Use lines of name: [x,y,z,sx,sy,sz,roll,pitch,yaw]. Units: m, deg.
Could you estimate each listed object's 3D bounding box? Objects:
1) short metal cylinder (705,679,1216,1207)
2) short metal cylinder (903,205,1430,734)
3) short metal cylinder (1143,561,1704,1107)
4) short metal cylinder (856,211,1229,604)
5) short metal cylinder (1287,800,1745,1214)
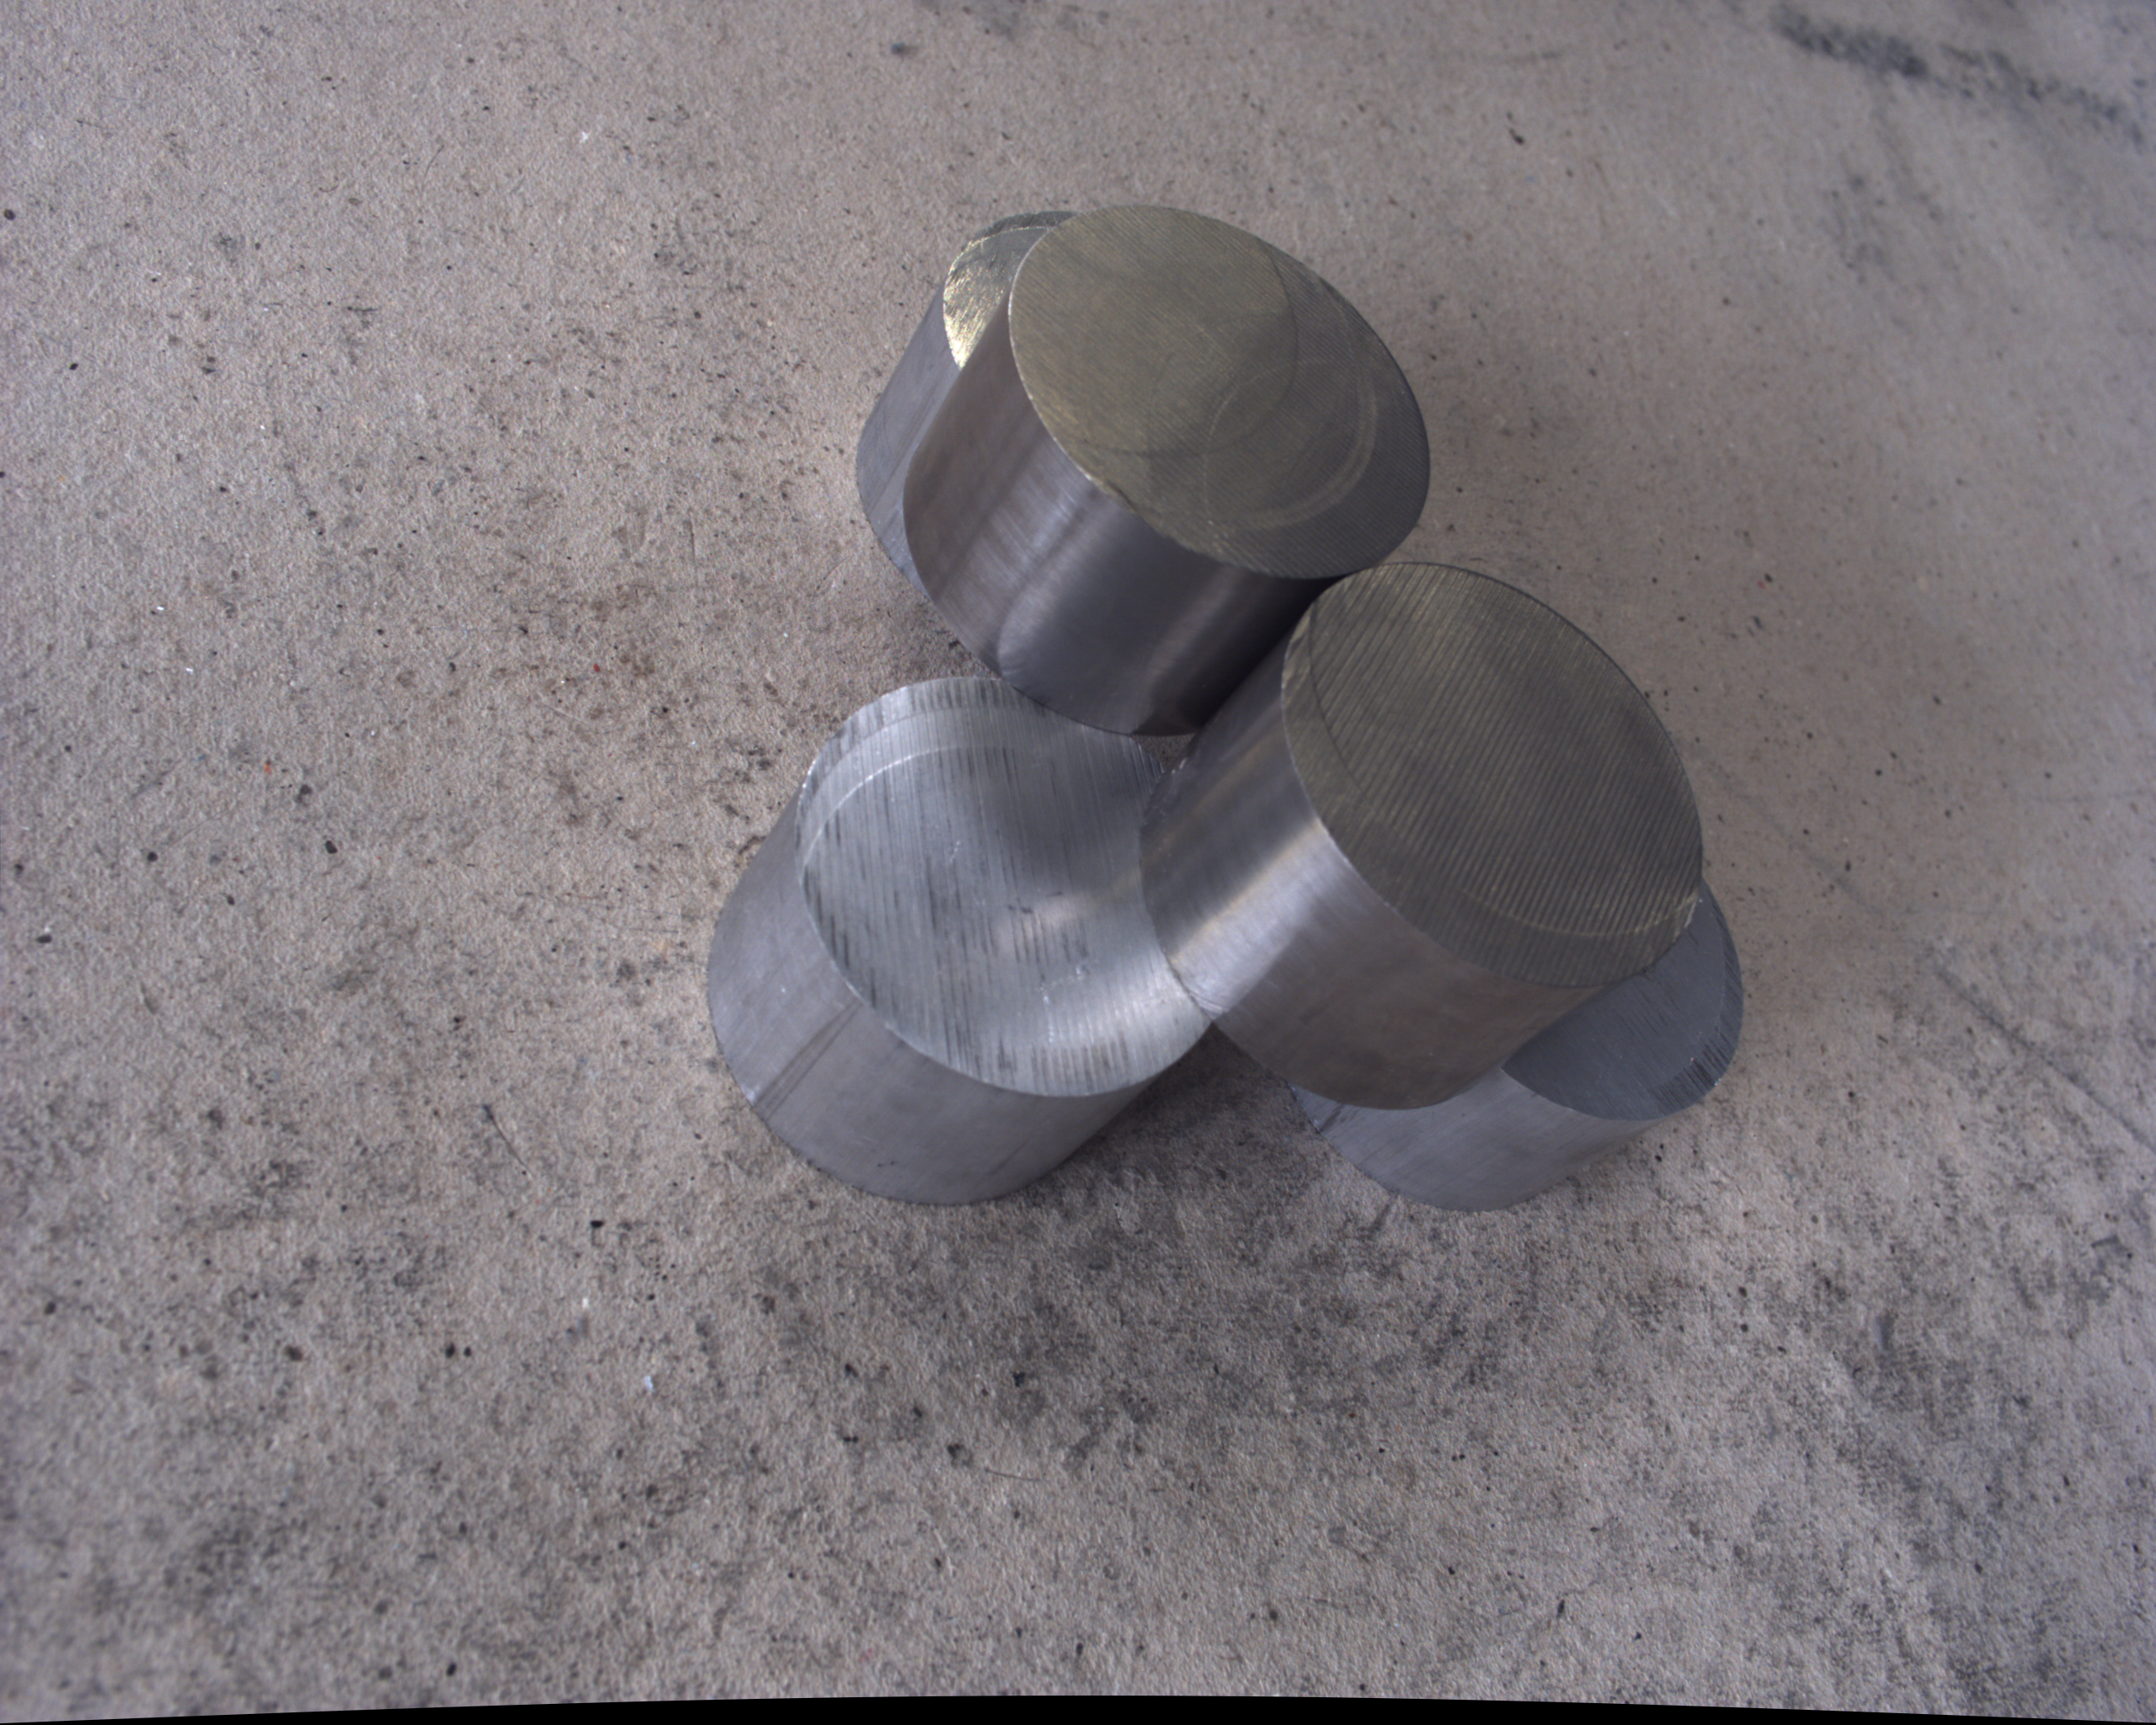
short metal cylinder: [-0.020,0.015,0.369,0.081,0.050,0.080,14,56,-21]
short metal cylinder: [0.015,-0.070,0.375,0.081,0.050,0.080,13,56,-20]
short metal cylinder: [0.058,-0.005,0.358,0.081,0.050,0.080,14,56,-21]
short metal cylinder: [-0.001,-0.091,0.444,0.081,0.050,0.080,14,56,-21]
short metal cylinder: [0.085,0.024,0.419,0.081,0.050,0.080,14,56,-21]
